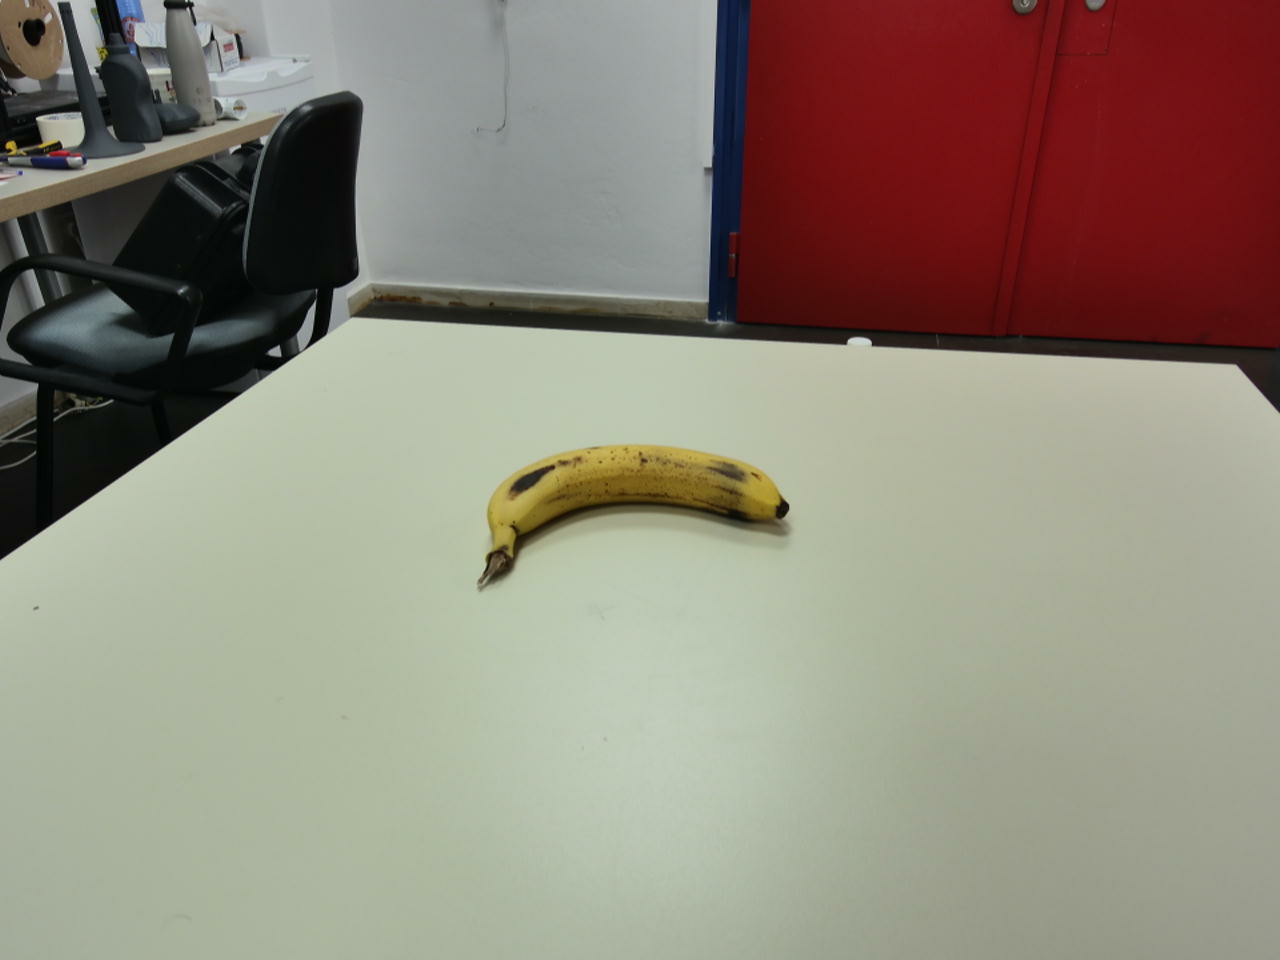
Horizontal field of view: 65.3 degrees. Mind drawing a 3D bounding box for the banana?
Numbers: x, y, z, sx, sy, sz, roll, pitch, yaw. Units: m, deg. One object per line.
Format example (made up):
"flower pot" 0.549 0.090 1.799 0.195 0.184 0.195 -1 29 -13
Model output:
"banana" -0.009 0.010 0.621 0.186 0.038 0.097 -7 27 -14
